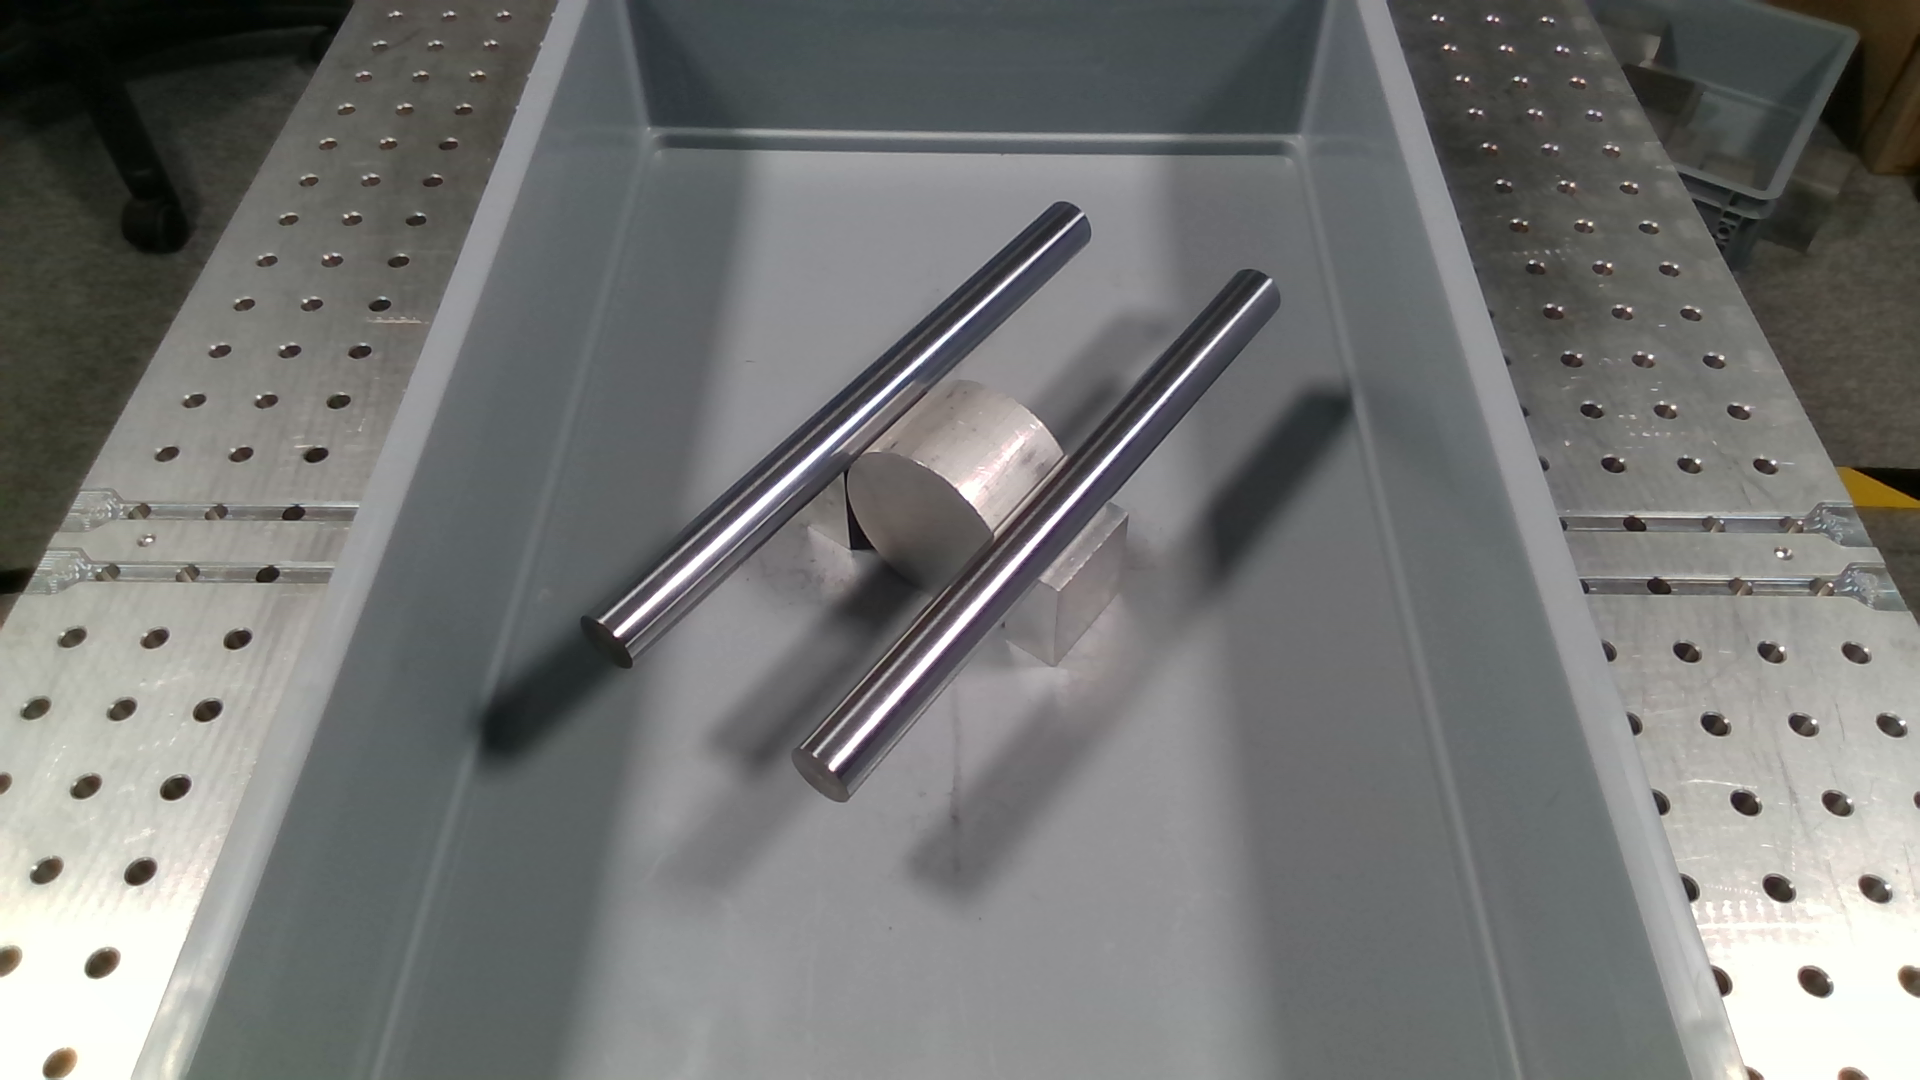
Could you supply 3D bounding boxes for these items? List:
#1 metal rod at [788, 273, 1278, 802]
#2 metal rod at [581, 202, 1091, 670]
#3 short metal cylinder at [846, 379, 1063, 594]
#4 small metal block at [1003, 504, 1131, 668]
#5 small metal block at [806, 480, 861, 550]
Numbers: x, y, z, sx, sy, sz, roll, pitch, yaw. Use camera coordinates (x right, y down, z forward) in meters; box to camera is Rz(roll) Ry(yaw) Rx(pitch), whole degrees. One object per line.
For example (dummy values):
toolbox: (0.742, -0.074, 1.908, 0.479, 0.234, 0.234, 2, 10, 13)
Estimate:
metal rod: (0.041, -0.015, 0.533, 0.025, 0.025, 0.299, 29, 56, 22)
metal rod: (-0.037, -0.055, 0.568, 0.025, 0.025, 0.299, 29, 56, 22)
short metal cylinder: (0.000, -0.019, 0.565, 0.080, 0.080, 0.050, 29, 56, 22)
small metal block: (0.043, 0.015, 0.556, 0.025, 0.050, 0.050, 30, 56, 23)
small metal block: (-0.043, -0.033, 0.597, 0.025, 0.050, 0.050, 30, 56, 23)
